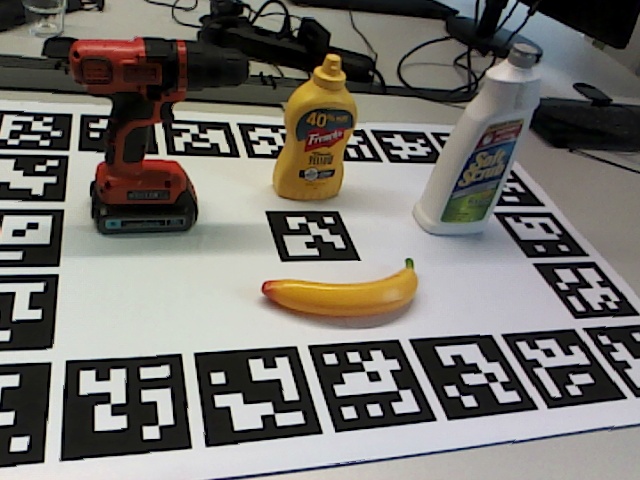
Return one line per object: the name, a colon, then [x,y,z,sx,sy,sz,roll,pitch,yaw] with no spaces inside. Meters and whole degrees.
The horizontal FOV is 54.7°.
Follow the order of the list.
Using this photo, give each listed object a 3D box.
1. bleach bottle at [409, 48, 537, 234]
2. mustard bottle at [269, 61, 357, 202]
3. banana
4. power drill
bleach bottle: [0.200,-0.123,0.793,0.102,0.250,0.068,6,39,-12]
mustard bottle: [-0.003,-0.140,0.800,0.096,0.191,0.059,-5,42,-26]
banana: [0.033,0.049,0.683,0.196,0.039,0.074,-6,44,-20]
power drill: [-0.164,-0.132,0.688,0.184,0.187,0.058,-7,43,-20]
